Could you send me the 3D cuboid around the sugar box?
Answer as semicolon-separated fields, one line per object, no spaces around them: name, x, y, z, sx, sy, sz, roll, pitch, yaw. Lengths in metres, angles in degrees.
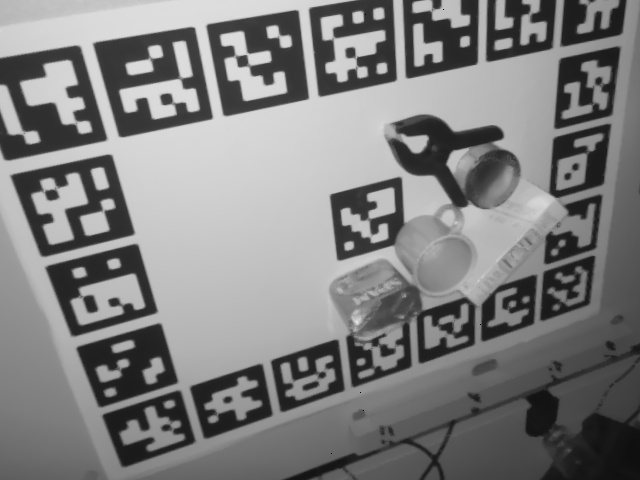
sugar box;0.304;0.018;0.935;0.175;0.093;0.045;-47;123;7

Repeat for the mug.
mug;0.216;0.029;0.903;0.094;0.081;0.116;10;109;-23

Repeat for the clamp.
clamp;0.208;-0.099;0.874;0.166;0.036;0.120;21;110;-23

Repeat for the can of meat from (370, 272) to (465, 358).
can of meat;0.125;0.095;0.909;0.102;0.083;0.057;-21;122;-8

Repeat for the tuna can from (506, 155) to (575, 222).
tuna can;0.290;-0.068;0.914;0.086;0.033;0.085;-8;115;-17
